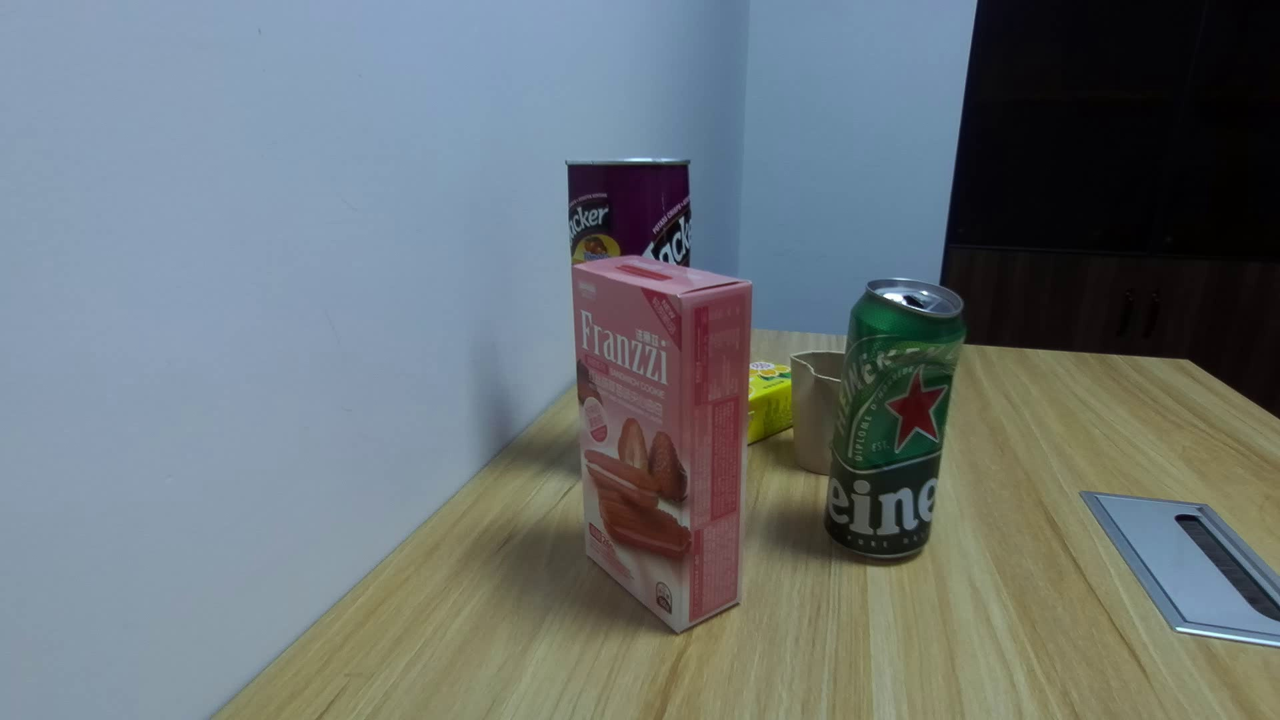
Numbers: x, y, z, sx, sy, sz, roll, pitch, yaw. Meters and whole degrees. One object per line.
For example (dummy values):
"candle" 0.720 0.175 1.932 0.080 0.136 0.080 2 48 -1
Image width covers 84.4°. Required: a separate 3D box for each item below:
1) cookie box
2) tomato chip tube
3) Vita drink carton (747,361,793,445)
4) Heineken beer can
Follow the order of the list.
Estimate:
"cookie box" 0.010 0.043 0.389 0.048 0.184 0.095 -14 23 -34
"tomato chip tube" -0.003 -0.029 0.530 0.077 0.235 0.076 4 19 19
"Vita drink carton" 0.100 0.038 0.638 0.109 0.043 0.066 -15 23 -39
"Heineken beer can" 0.156 0.039 0.434 0.068 0.168 0.069 8 21 13
